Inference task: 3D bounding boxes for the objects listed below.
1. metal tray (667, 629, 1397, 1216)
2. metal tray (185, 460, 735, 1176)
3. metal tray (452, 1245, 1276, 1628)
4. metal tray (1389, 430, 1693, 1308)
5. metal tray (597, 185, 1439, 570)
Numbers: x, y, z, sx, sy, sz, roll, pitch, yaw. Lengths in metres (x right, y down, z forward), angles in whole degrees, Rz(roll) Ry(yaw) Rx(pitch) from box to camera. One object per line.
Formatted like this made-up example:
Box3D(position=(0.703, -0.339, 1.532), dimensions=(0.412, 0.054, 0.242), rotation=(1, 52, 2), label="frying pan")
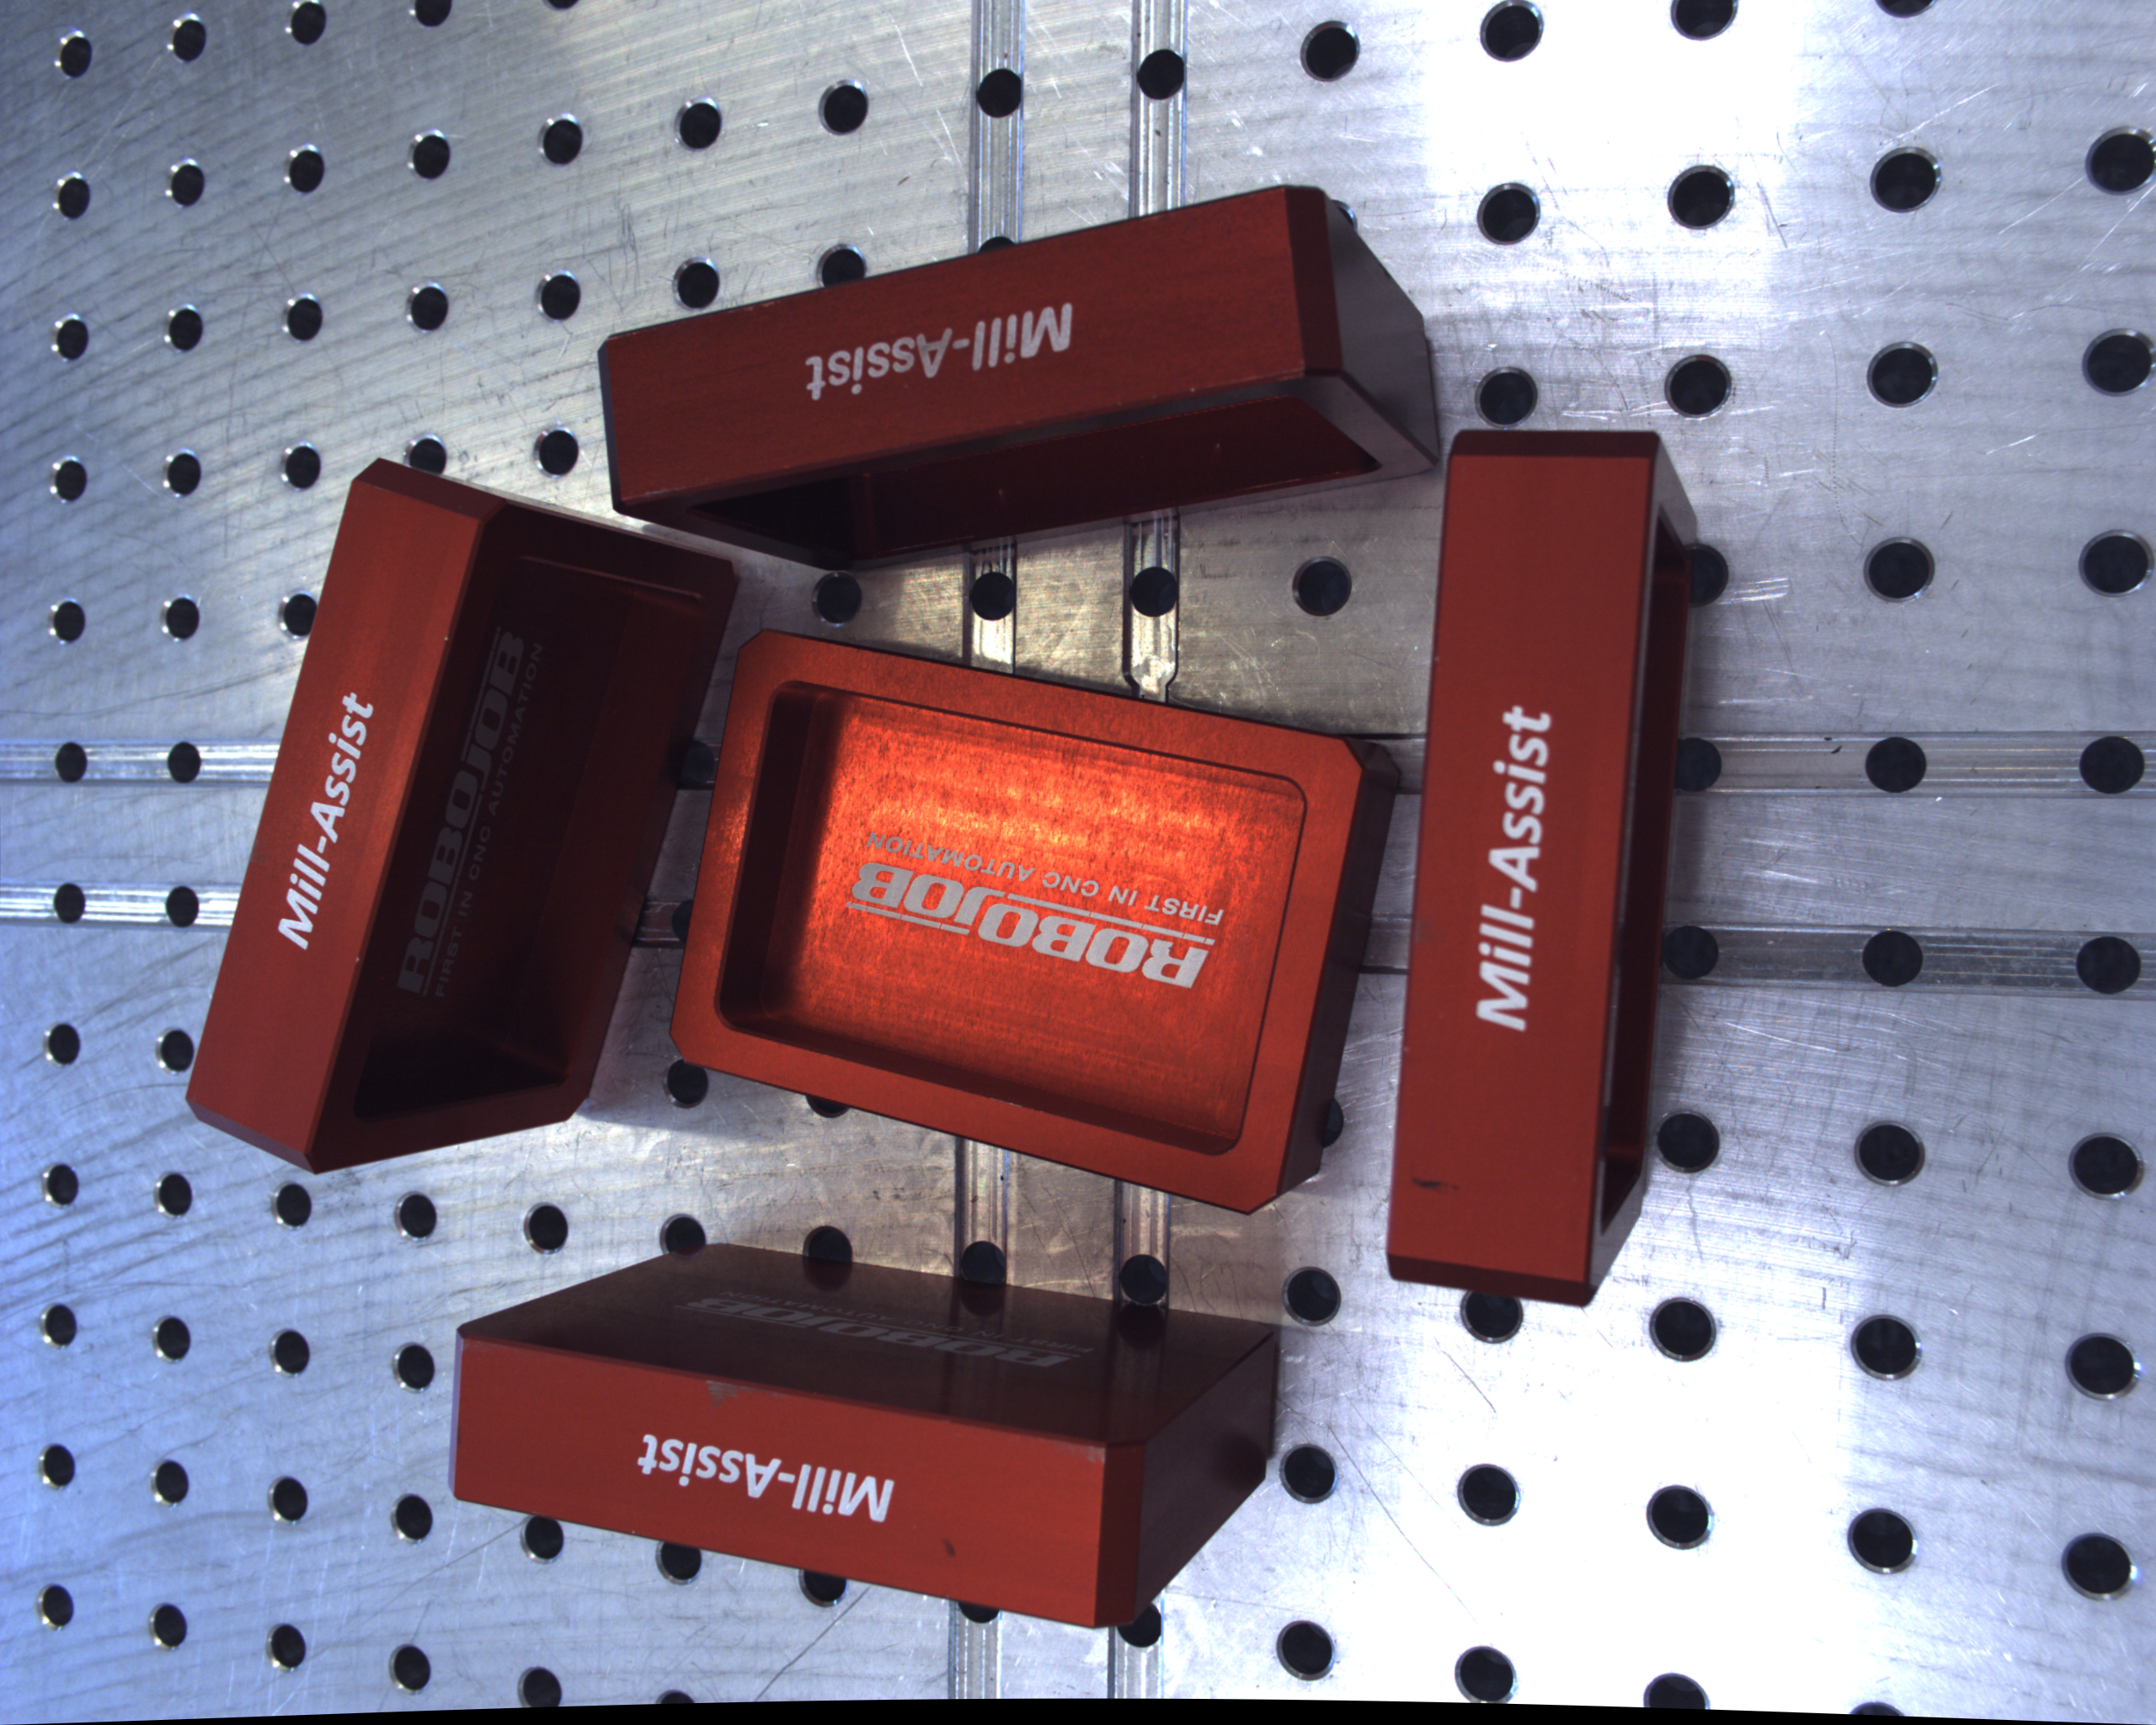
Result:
Box3D(position=(-0.011, 0.009, 0.413), dimensions=(0.130, 0.030, 0.090), rotation=(12, 94, 19), label="metal tray")
Box3D(position=(-0.121, -0.008, 0.421), dimensions=(0.030, 0.090, 0.129), rotation=(19, 96, 19), label="metal tray")
Box3D(position=(-0.037, 0.102, 0.392), dimensions=(0.130, 0.090, 0.030), rotation=(4, 92, 20), label="metal tray")
Box3D(position=(0.080, 0.000, 0.350), dimensions=(0.030, 0.090, 0.129), rotation=(5, 92, 20), label="metal tray")
Box3D(position=(-0.008, -0.083, 0.381), dimensions=(0.130, 0.090, 0.030), rotation=(-7, 88, 20), label="metal tray")
